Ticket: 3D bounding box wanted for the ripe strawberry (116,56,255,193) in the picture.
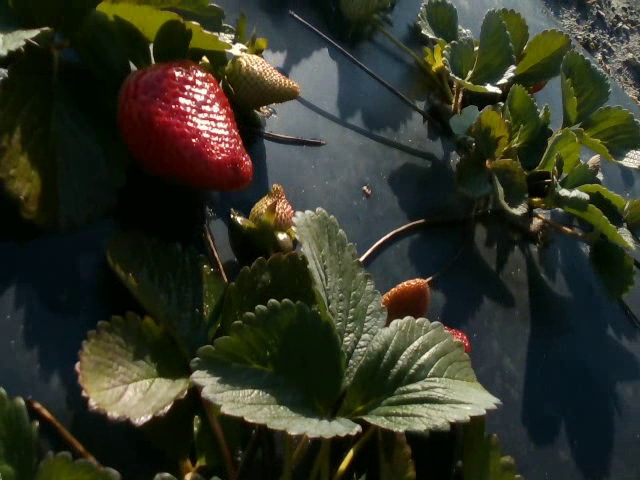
[{"bbox_3d":[-0.048,-0.040,0.229,0.072,0.057,0.055,44,1,24],"label":"ripe strawberry"}]
